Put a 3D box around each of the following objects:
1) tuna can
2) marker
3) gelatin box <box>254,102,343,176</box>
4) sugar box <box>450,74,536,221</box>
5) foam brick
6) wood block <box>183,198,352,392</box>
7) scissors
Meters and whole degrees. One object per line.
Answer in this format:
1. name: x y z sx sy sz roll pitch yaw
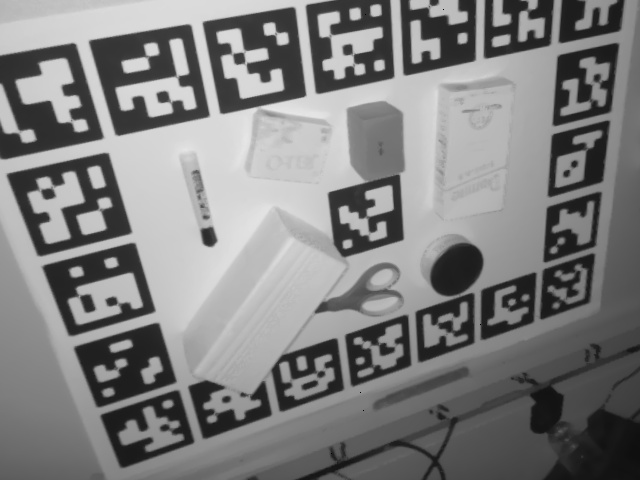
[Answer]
1. tuna can: 0.208 0.037 0.954 0.087 0.033 0.085 -9 116 -17
2. marker: -0.125 -0.056 0.791 0.020 0.019 0.120 -13 116 -14
3. gelatin box: -0.025 -0.115 0.797 0.090 0.030 0.072 4 112 -23
4. sugar box: 0.216 -0.116 0.882 0.094 0.045 0.175 -10 117 -16
5. foam brick: 0.079 -0.125 0.815 0.053 0.051 0.077 -12 117 -15
6. wood block: -0.066 0.066 0.836 0.090 0.091 0.205 31 101 -30
7. scissors: 0.041 0.080 0.924 0.205 0.016 0.087 -8 116 -20
